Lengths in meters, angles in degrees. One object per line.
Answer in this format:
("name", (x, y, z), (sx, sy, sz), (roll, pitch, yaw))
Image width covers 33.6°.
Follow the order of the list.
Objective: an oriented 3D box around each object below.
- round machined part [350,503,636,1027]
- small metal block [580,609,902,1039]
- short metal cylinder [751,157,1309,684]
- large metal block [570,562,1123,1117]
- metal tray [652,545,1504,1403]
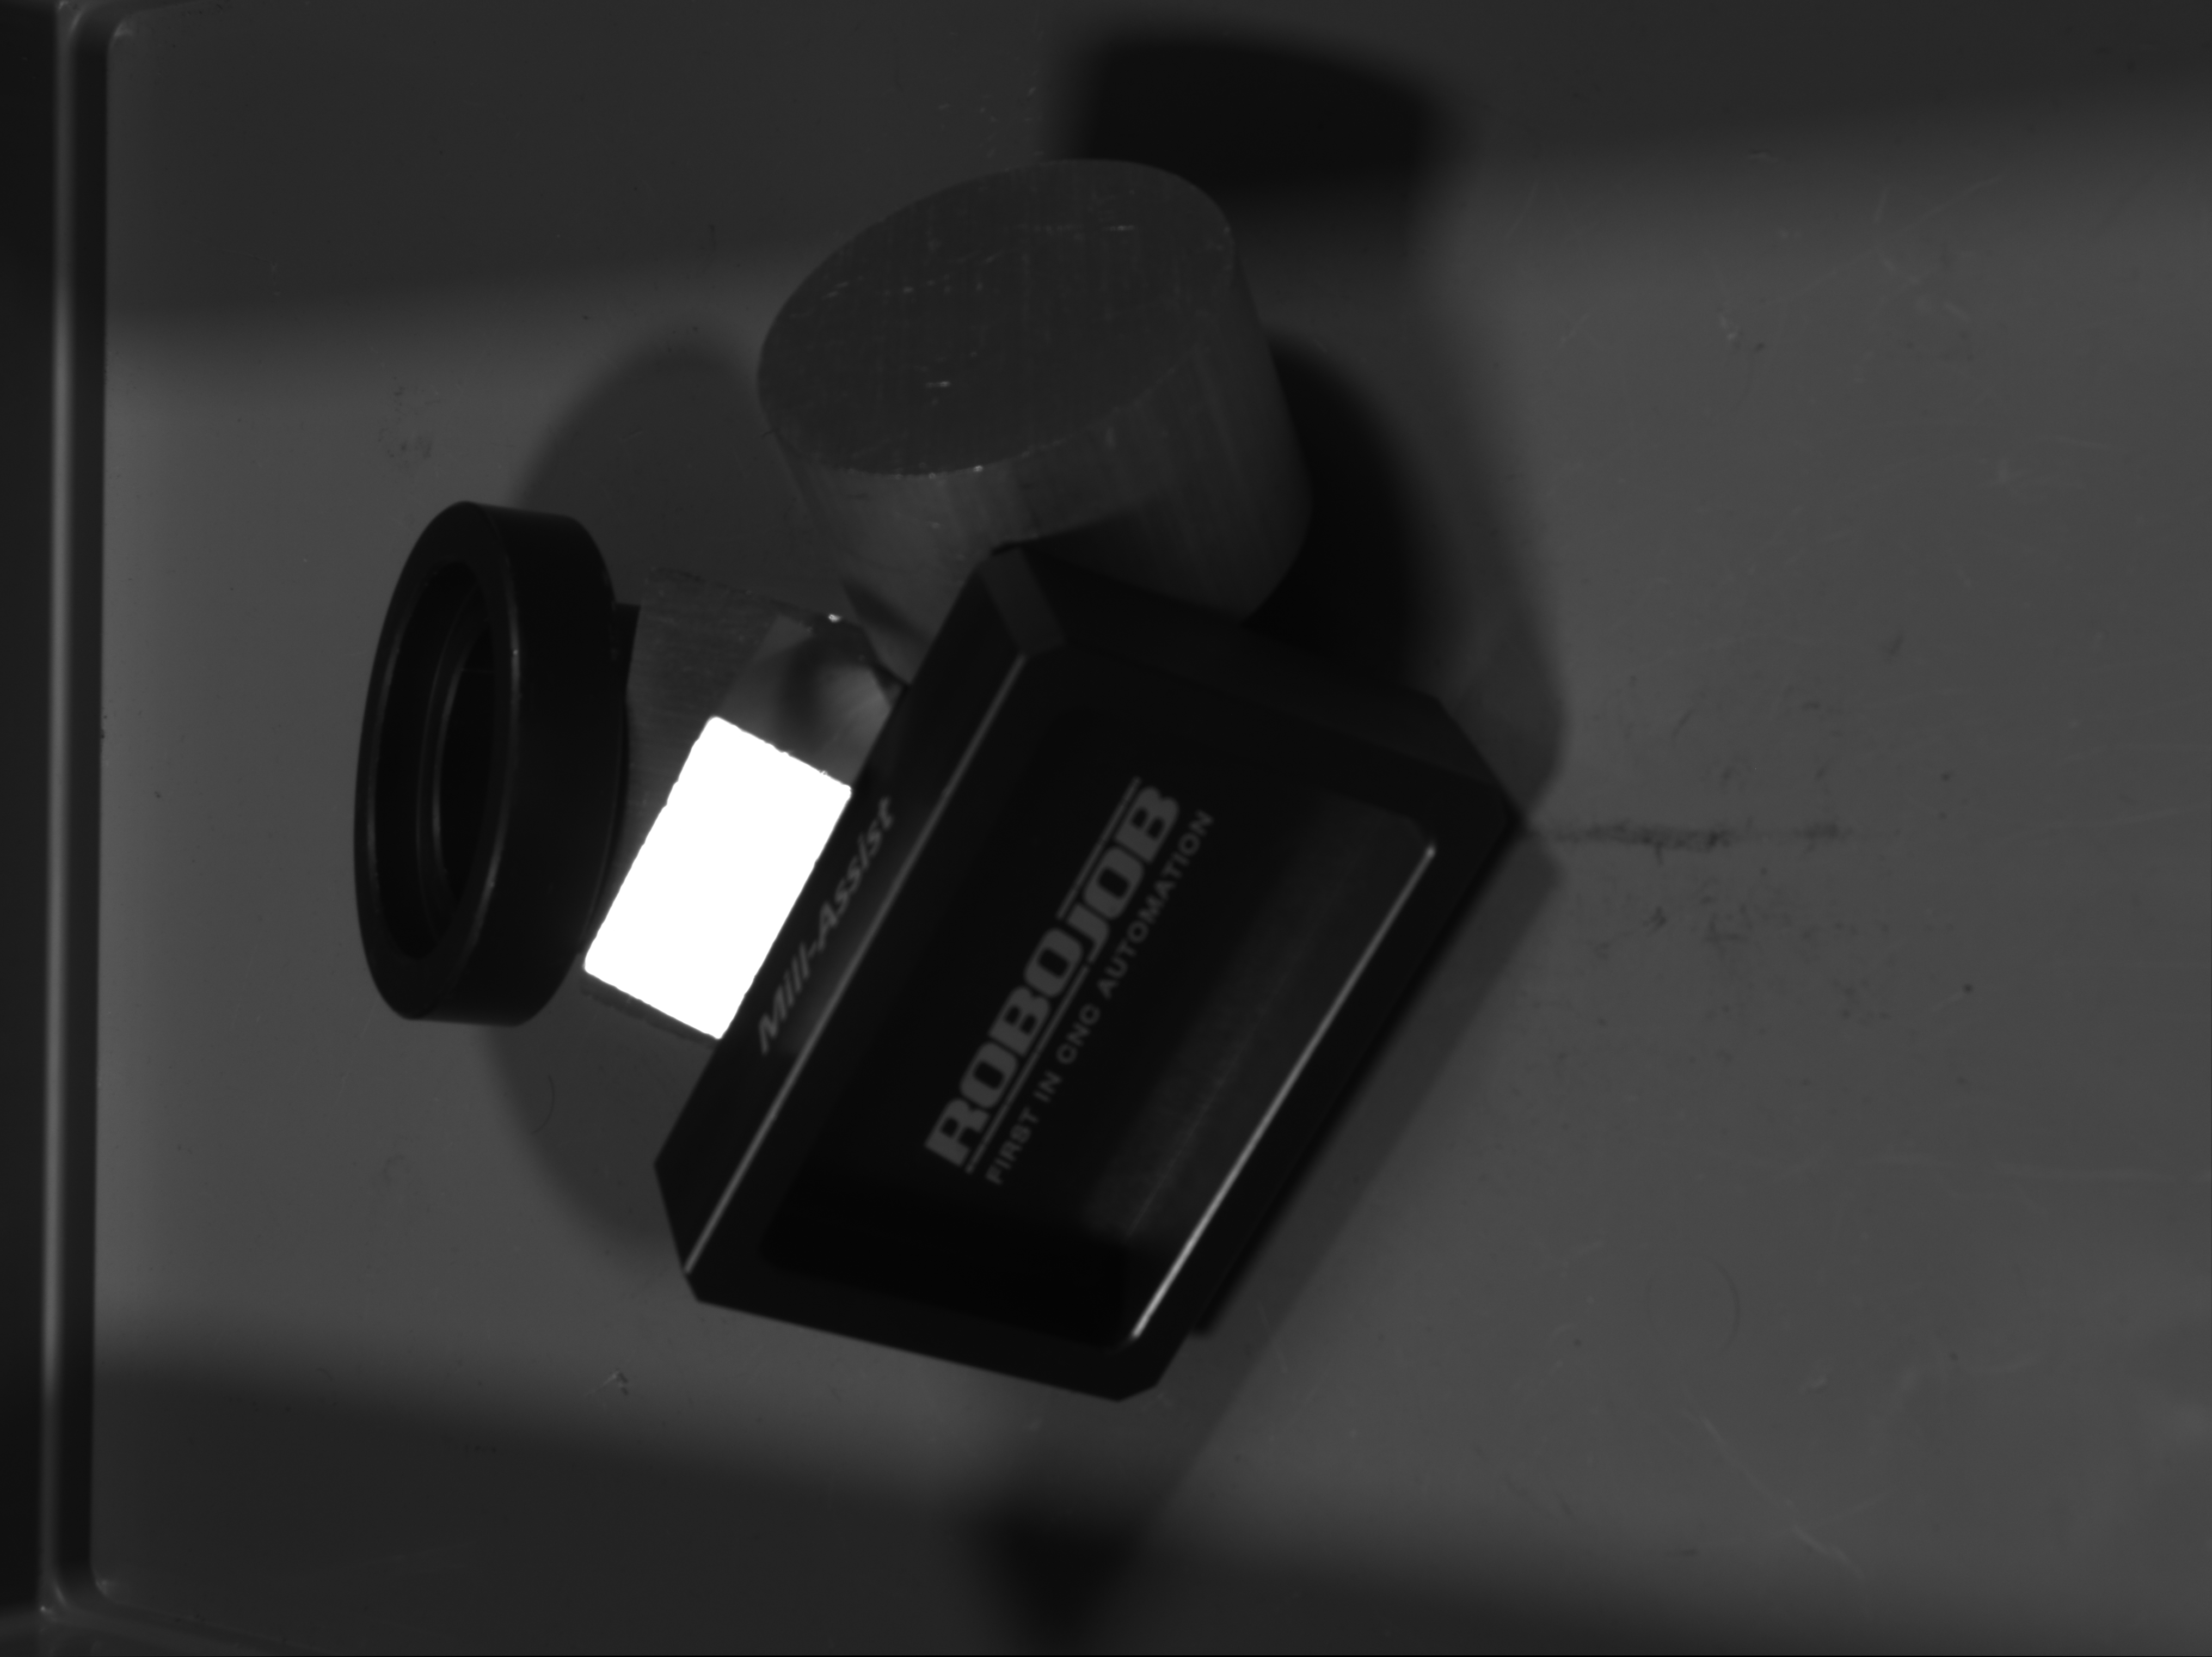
("round machined part", (-0.110, -0.011, 0.699), (0.098, 0.042, 0.098), (-20, 67, 60))
("small metal block", (-0.058, -0.001, 0.600), (0.025, 0.050, 0.050), (28, 113, -4))
("short metal cylinder", (-0.012, -0.065, 0.601), (0.080, 0.080, 0.050), (20, 147, 38))
("large metal block", (-0.044, 0.001, 0.655), (0.080, 0.050, 0.080), (19, 101, 38))
("metal tray", (-0.006, 0.027, 0.596), (0.130, 0.090, 0.030), (-60, 29, 21))
